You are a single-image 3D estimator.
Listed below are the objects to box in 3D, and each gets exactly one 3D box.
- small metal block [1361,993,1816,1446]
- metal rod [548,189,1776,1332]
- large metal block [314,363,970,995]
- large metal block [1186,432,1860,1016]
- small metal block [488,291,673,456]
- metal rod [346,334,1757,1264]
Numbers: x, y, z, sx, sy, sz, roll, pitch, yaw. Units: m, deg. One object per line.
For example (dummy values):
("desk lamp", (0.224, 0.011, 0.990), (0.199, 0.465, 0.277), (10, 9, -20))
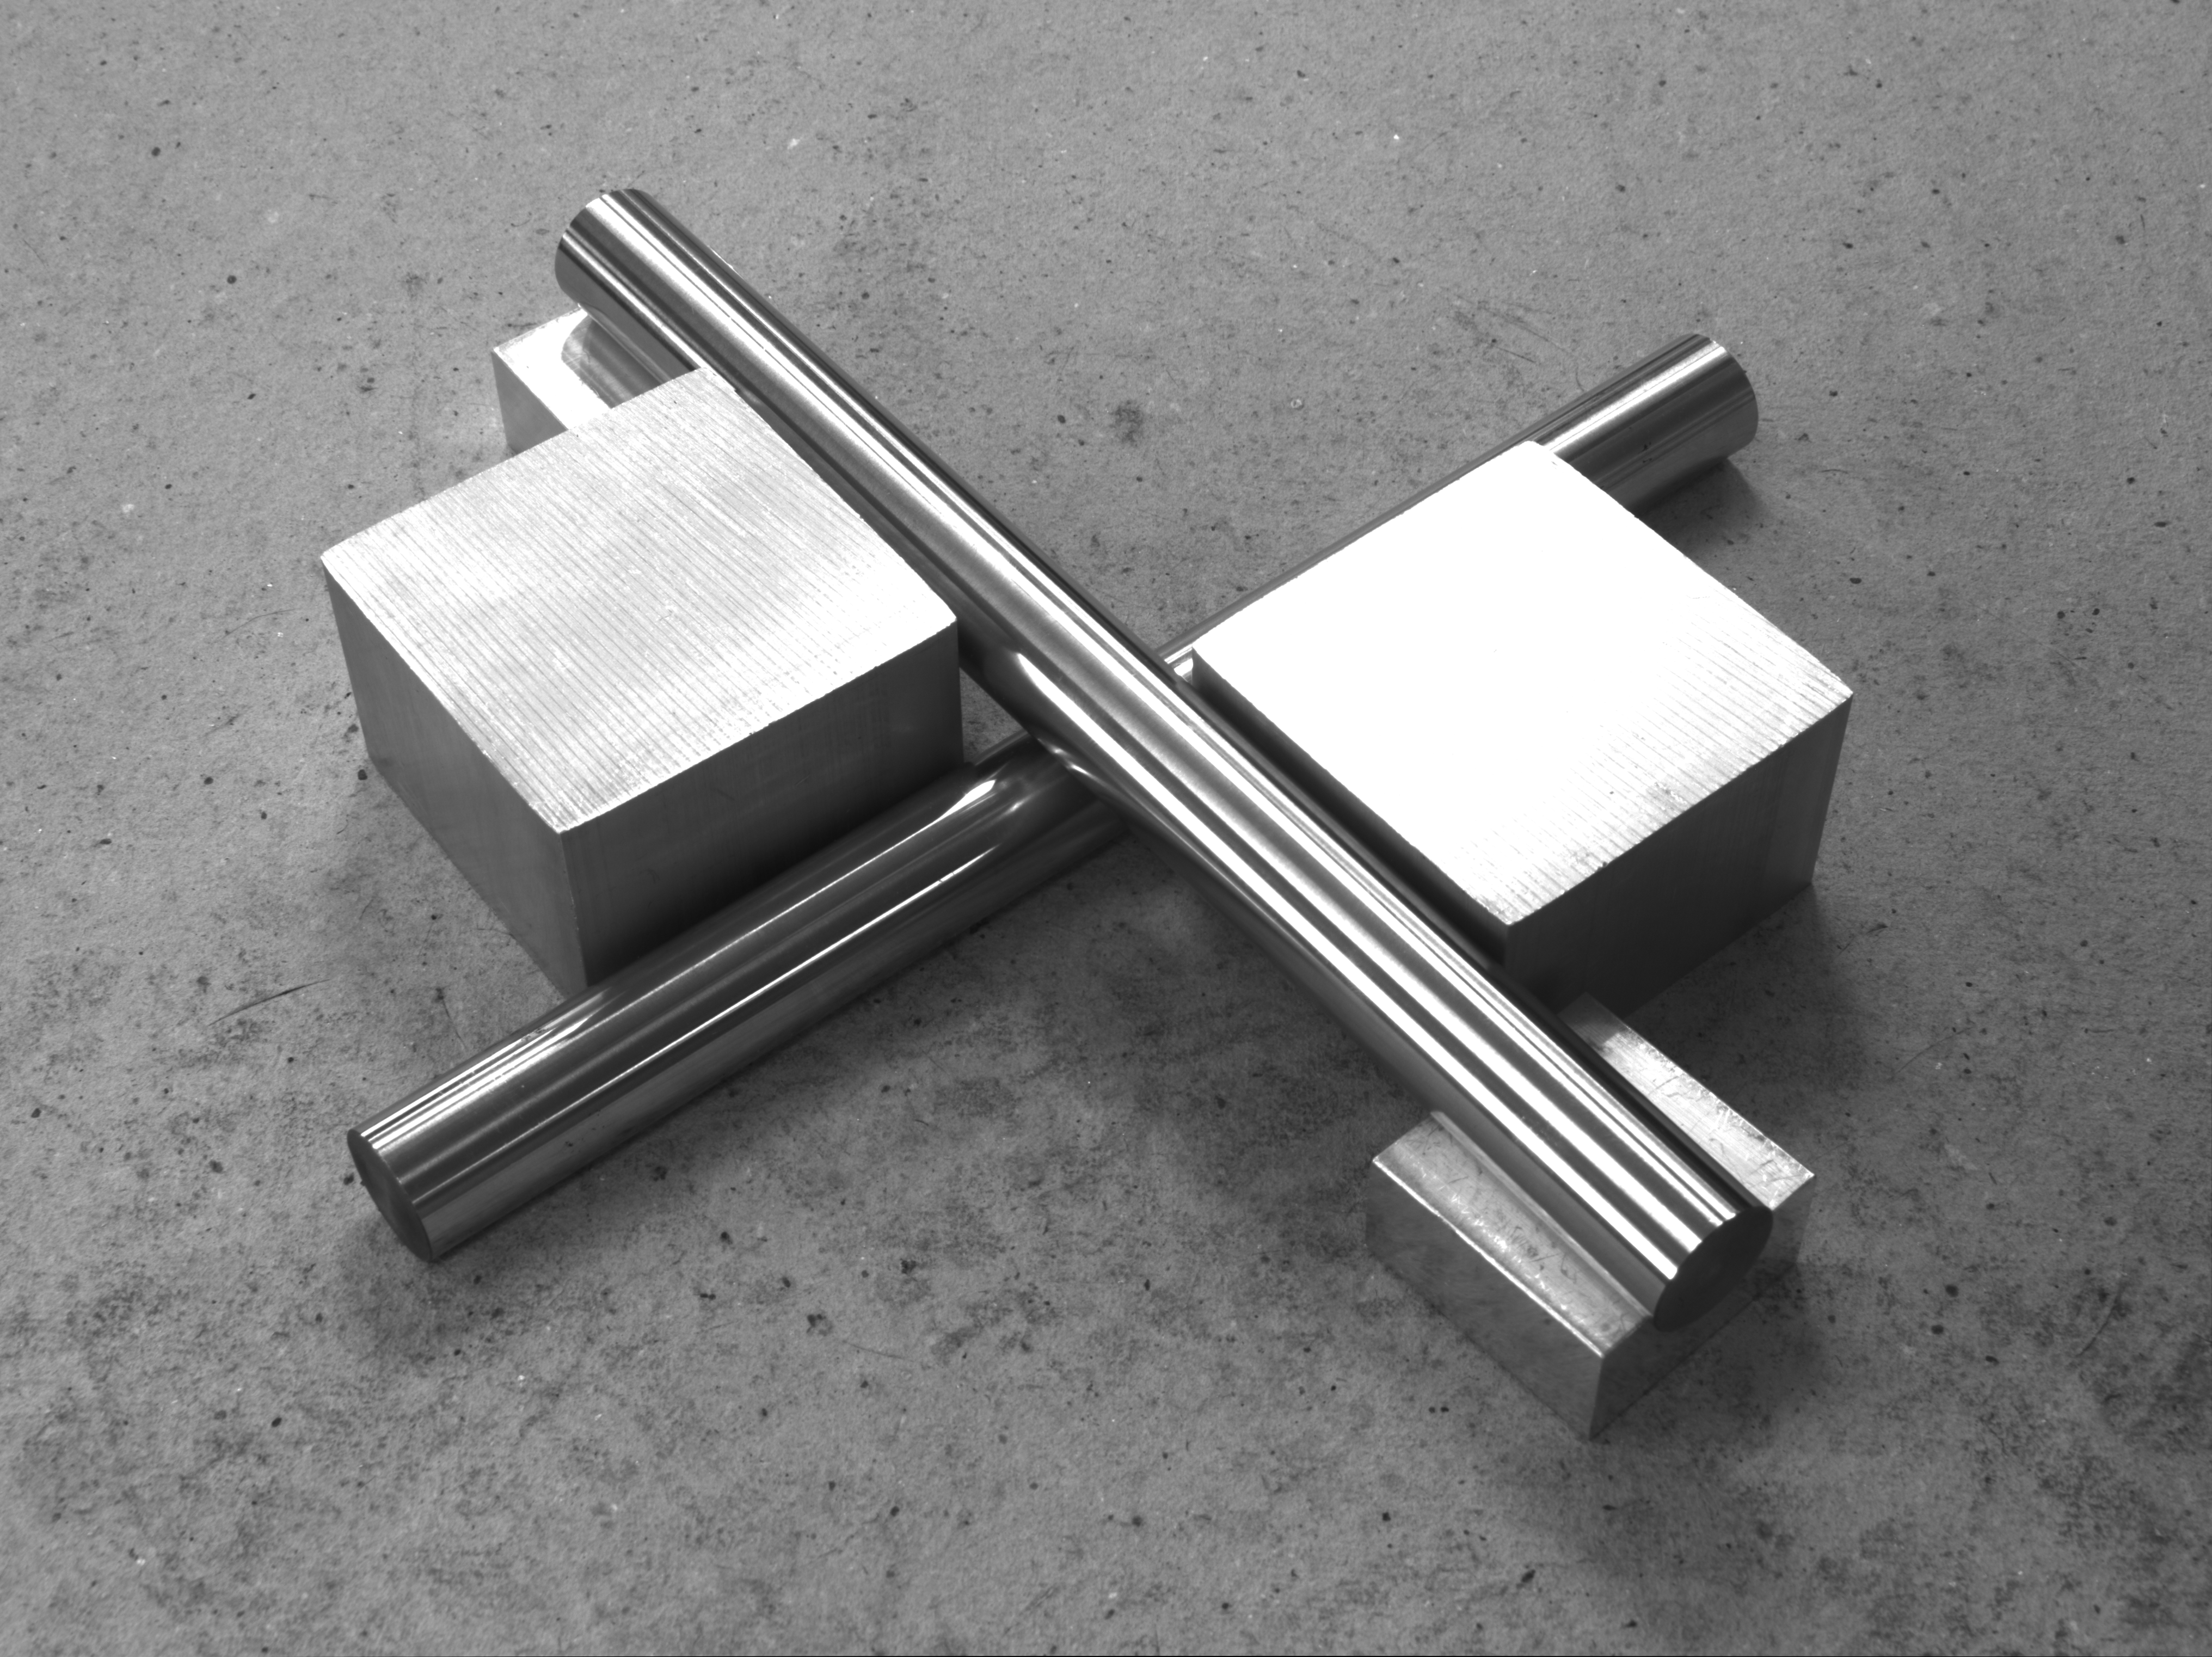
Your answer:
("small metal block", (0.077, 0.062, 0.591), (0.050, 0.025, 0.050), (-35, 58, -26))
("metal rod", (-0.002, -0.023, 0.628), (0.025, 0.025, 0.299), (-32, 57, -24))
("large metal block", (-0.080, -0.025, 0.645), (0.080, 0.050, 0.080), (-30, 56, -23))
("large metal block", (0.070, -0.011, 0.636), (0.080, 0.050, 0.080), (-32, 57, -24))
("small metal block", (-0.084, -0.080, 0.712), (0.050, 0.025, 0.050), (-30, 56, -23))
("metal rod", (0.001, -0.013, 0.654), (0.301, 0.025, 0.025), (-32, 57, -24))
